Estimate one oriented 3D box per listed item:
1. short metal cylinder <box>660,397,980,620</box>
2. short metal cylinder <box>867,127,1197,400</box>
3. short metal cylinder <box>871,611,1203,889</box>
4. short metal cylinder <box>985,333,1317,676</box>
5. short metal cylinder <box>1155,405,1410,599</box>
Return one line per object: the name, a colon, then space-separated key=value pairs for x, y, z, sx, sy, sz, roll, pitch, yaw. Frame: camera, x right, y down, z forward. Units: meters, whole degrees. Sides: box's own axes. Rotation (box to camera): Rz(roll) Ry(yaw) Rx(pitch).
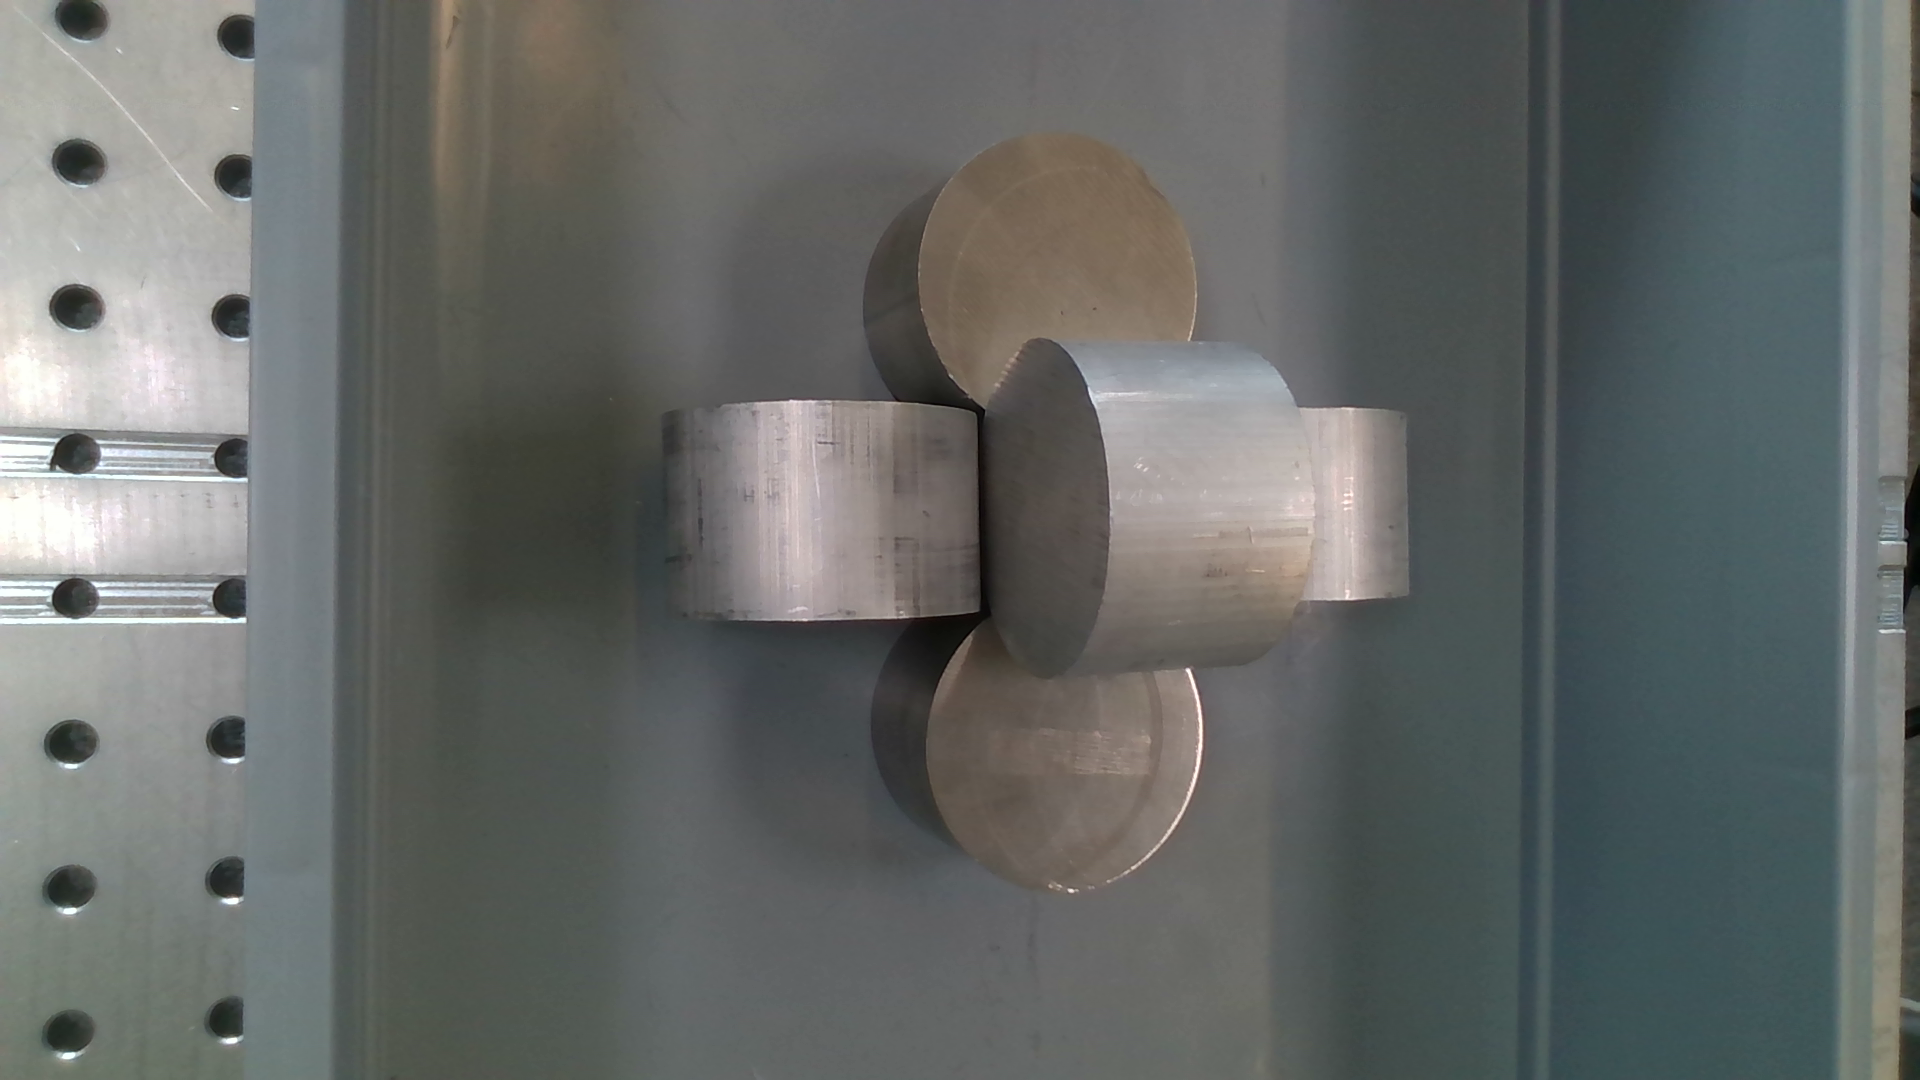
short metal cylinder: x=-0.035 y=-0.008 z=0.350 sx=0.080 sy=0.080 sz=0.050 roll=-2 pitch=91 yaw=-20
short metal cylinder: x=0.019 y=-0.068 z=0.386 sx=0.080 sy=0.050 sz=0.080 roll=0 pitch=90 yaw=-20
short metal cylinder: x=0.020 y=0.052 z=0.387 sx=0.080 sy=0.050 sz=0.080 roll=0 pitch=90 yaw=-20
short metal cylinder: x=0.041 y=-0.009 z=0.332 sx=0.050 sy=0.080 sz=0.080 roll=-1 pitch=90 yaw=-20
short metal cylinder: x=0.087 y=-0.010 z=0.395 sx=0.080 sy=0.080 sz=0.050 roll=-2 pitch=91 yaw=-20
